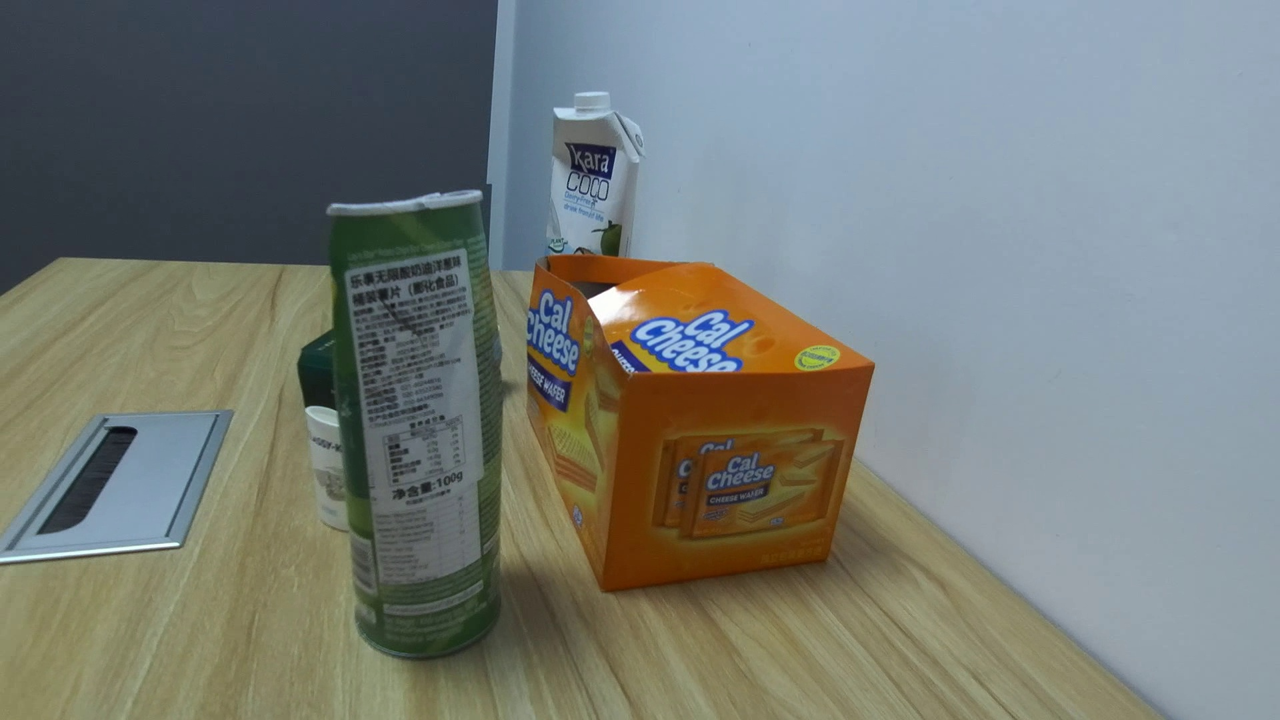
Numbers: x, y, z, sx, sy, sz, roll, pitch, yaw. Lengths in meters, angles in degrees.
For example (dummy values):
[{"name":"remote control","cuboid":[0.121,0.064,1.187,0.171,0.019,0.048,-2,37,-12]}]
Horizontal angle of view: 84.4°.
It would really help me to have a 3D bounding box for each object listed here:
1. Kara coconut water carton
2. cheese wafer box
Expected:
[{"name":"Kara coconut water carton","cuboid":[-0.045,-0.113,0.634,0.114,0.238,0.069,22,25,34]},{"name":"cheese wafer box","cuboid":[0.017,0.023,0.468,0.153,0.132,0.229,-3,25,-20]}]
